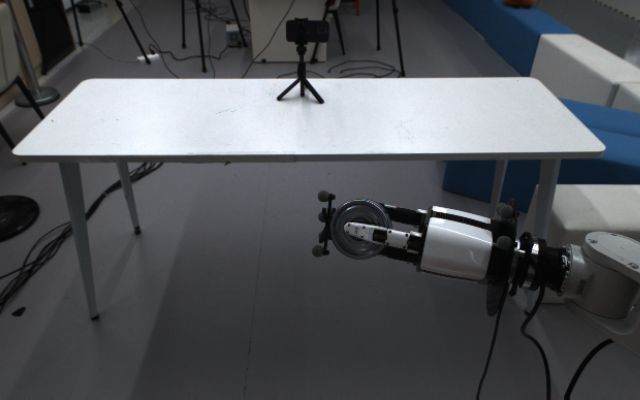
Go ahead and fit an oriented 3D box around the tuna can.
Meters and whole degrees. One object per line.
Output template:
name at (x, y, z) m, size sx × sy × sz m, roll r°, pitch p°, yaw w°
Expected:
tuna can at (0.061, 0.043, 0.681) m, size 0.085 × 0.085 × 0.034 m, roll 10°, pitch 2°, yaw 11°
